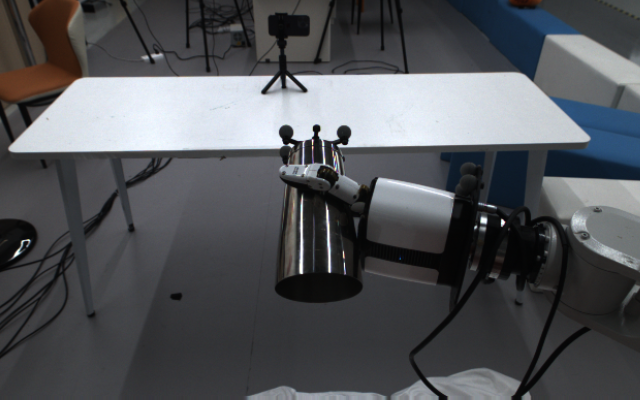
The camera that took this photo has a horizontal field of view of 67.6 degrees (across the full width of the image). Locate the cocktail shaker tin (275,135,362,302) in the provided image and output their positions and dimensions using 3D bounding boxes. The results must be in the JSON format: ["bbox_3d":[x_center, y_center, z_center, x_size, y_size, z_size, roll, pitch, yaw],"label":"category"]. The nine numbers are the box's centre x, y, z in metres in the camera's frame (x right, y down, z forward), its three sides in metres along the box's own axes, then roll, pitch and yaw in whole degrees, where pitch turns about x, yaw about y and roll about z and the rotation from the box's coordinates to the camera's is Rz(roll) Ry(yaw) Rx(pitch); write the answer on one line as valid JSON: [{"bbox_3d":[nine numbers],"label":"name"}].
[{"bbox_3d":[-0.003,0.019,0.539,0.093,0.093,0.170,0,59,-3],"label":"cocktail shaker tin"}]
